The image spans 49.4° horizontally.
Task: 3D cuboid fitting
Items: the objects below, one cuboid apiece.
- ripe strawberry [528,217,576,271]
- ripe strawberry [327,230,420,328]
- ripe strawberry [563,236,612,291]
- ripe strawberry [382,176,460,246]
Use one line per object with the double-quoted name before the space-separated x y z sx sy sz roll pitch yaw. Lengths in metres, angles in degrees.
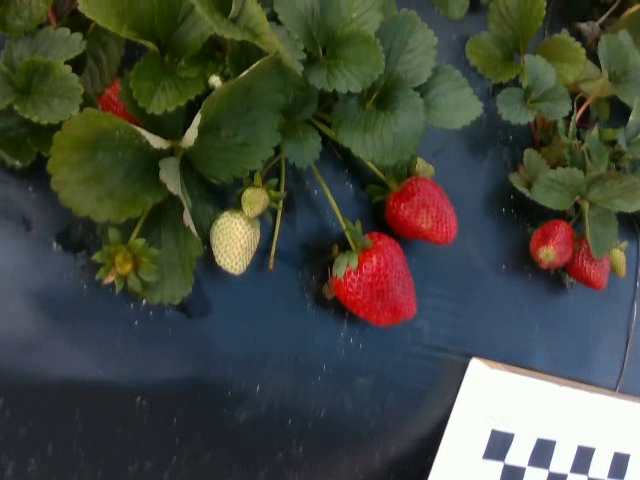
"ripe strawberry" 0.181 0.008 0.538 0.038 0.047 0.053 18 25 29
"ripe strawberry" 0.041 0.030 0.447 0.058 0.065 0.043 -41 12 -3
"ripe strawberry" 0.220 0.025 0.549 0.043 0.041 0.049 12 38 -28
"ripe strawberry" 0.075 -0.017 0.478 0.059 0.051 0.051 45 0 19
